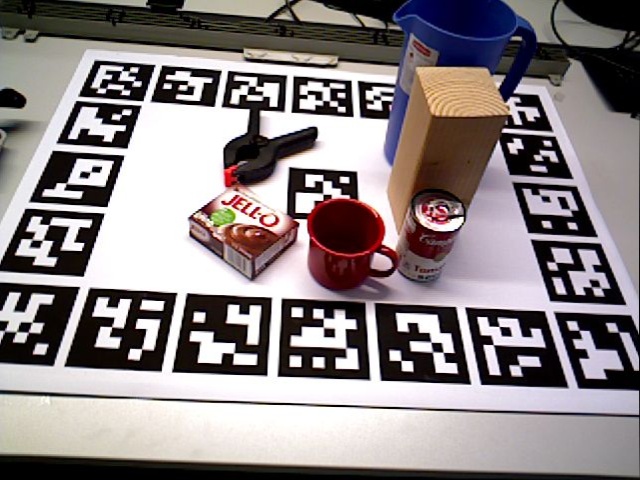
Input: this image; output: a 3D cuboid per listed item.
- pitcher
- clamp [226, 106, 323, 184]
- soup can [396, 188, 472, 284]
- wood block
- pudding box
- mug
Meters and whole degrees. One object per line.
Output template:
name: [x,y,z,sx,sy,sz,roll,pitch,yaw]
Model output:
pitcher: [0.181,-0.206,0.724,0.188,0.248,0.131,2,49,-1]
clamp: [-0.082,-0.135,0.786,0.122,0.037,0.161,31,55,9]
soup can: [0.131,-0.003,0.646,0.067,0.104,0.067,2,53,-4]
wood block: [0.154,-0.104,0.661,0.089,0.211,0.089,4,50,-8]
pudding box: [-0.104,-0.017,0.682,0.114,0.039,0.088,33,59,21]
mug: [0.038,0.014,0.639,0.117,0.083,0.091,32,52,20]
